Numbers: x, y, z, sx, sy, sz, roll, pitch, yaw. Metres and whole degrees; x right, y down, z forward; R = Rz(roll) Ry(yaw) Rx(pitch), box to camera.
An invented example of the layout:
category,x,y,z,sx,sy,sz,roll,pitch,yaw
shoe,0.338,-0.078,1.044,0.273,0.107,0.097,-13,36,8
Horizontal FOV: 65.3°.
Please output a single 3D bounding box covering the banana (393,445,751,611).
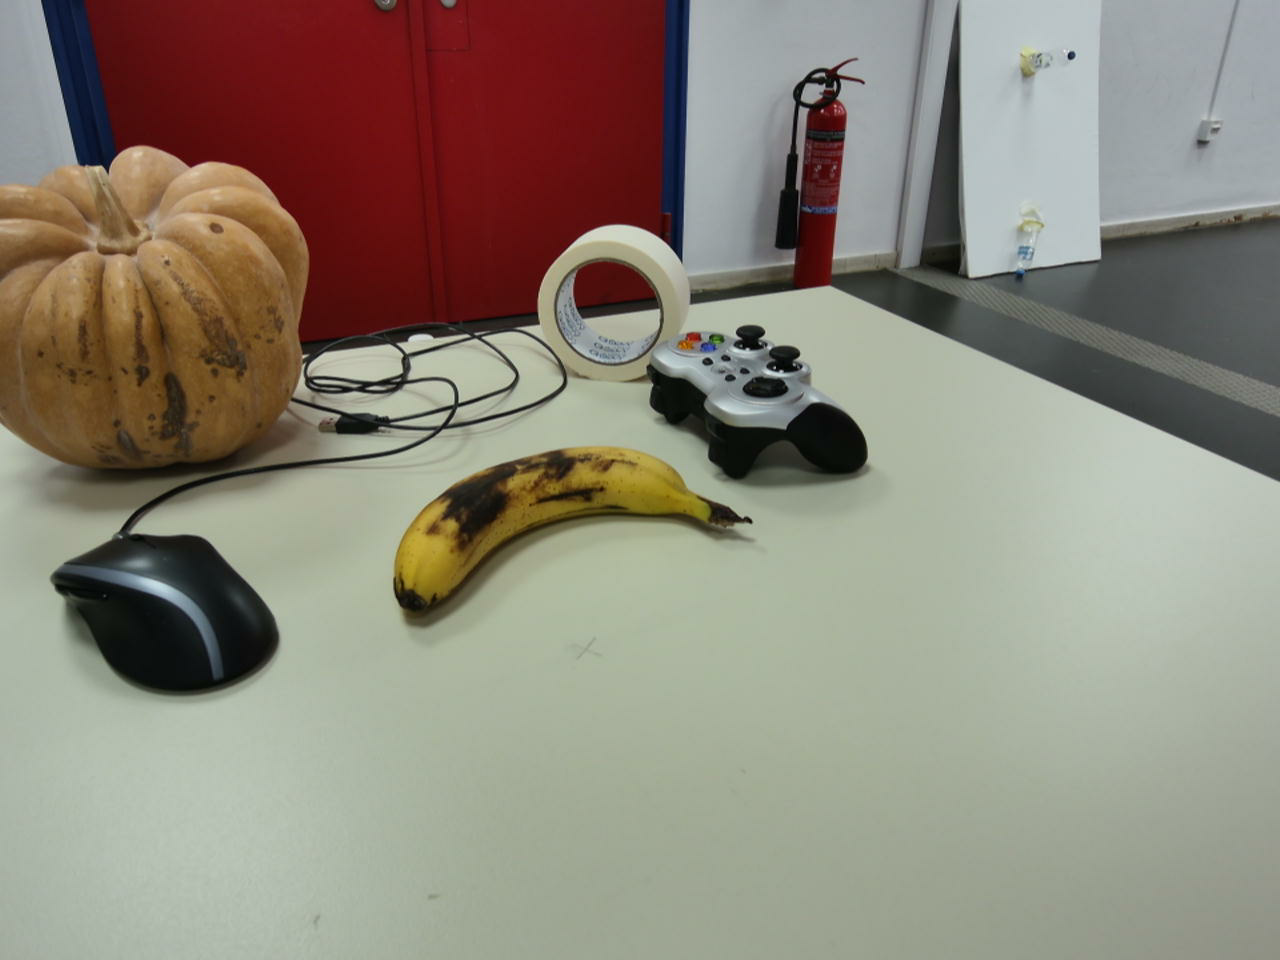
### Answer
category,x,y,z,sx,sy,sz,roll,pitch,yaw
banana,-0.046,0.017,0.525,0.187,0.039,0.094,-12,28,-25
